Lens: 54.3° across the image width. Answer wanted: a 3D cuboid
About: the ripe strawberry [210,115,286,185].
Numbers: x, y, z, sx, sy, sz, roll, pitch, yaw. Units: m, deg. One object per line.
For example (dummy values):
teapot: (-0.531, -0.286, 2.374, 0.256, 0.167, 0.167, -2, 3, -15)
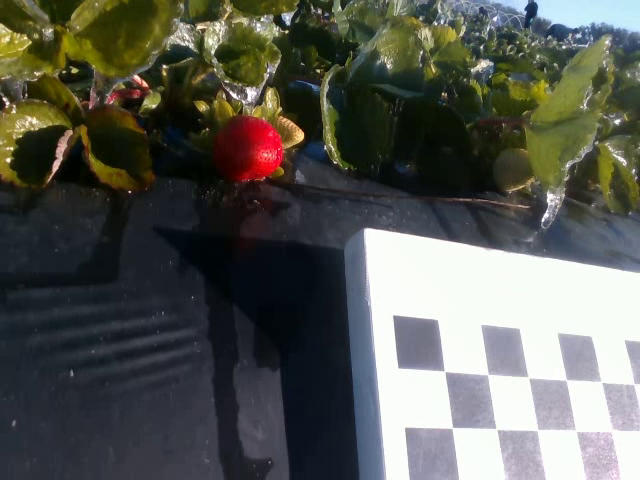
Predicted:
ripe strawberry: (-0.025, -0.035, 0.242, 0.039, 0.040, 0.039, -5, 5, -18)
